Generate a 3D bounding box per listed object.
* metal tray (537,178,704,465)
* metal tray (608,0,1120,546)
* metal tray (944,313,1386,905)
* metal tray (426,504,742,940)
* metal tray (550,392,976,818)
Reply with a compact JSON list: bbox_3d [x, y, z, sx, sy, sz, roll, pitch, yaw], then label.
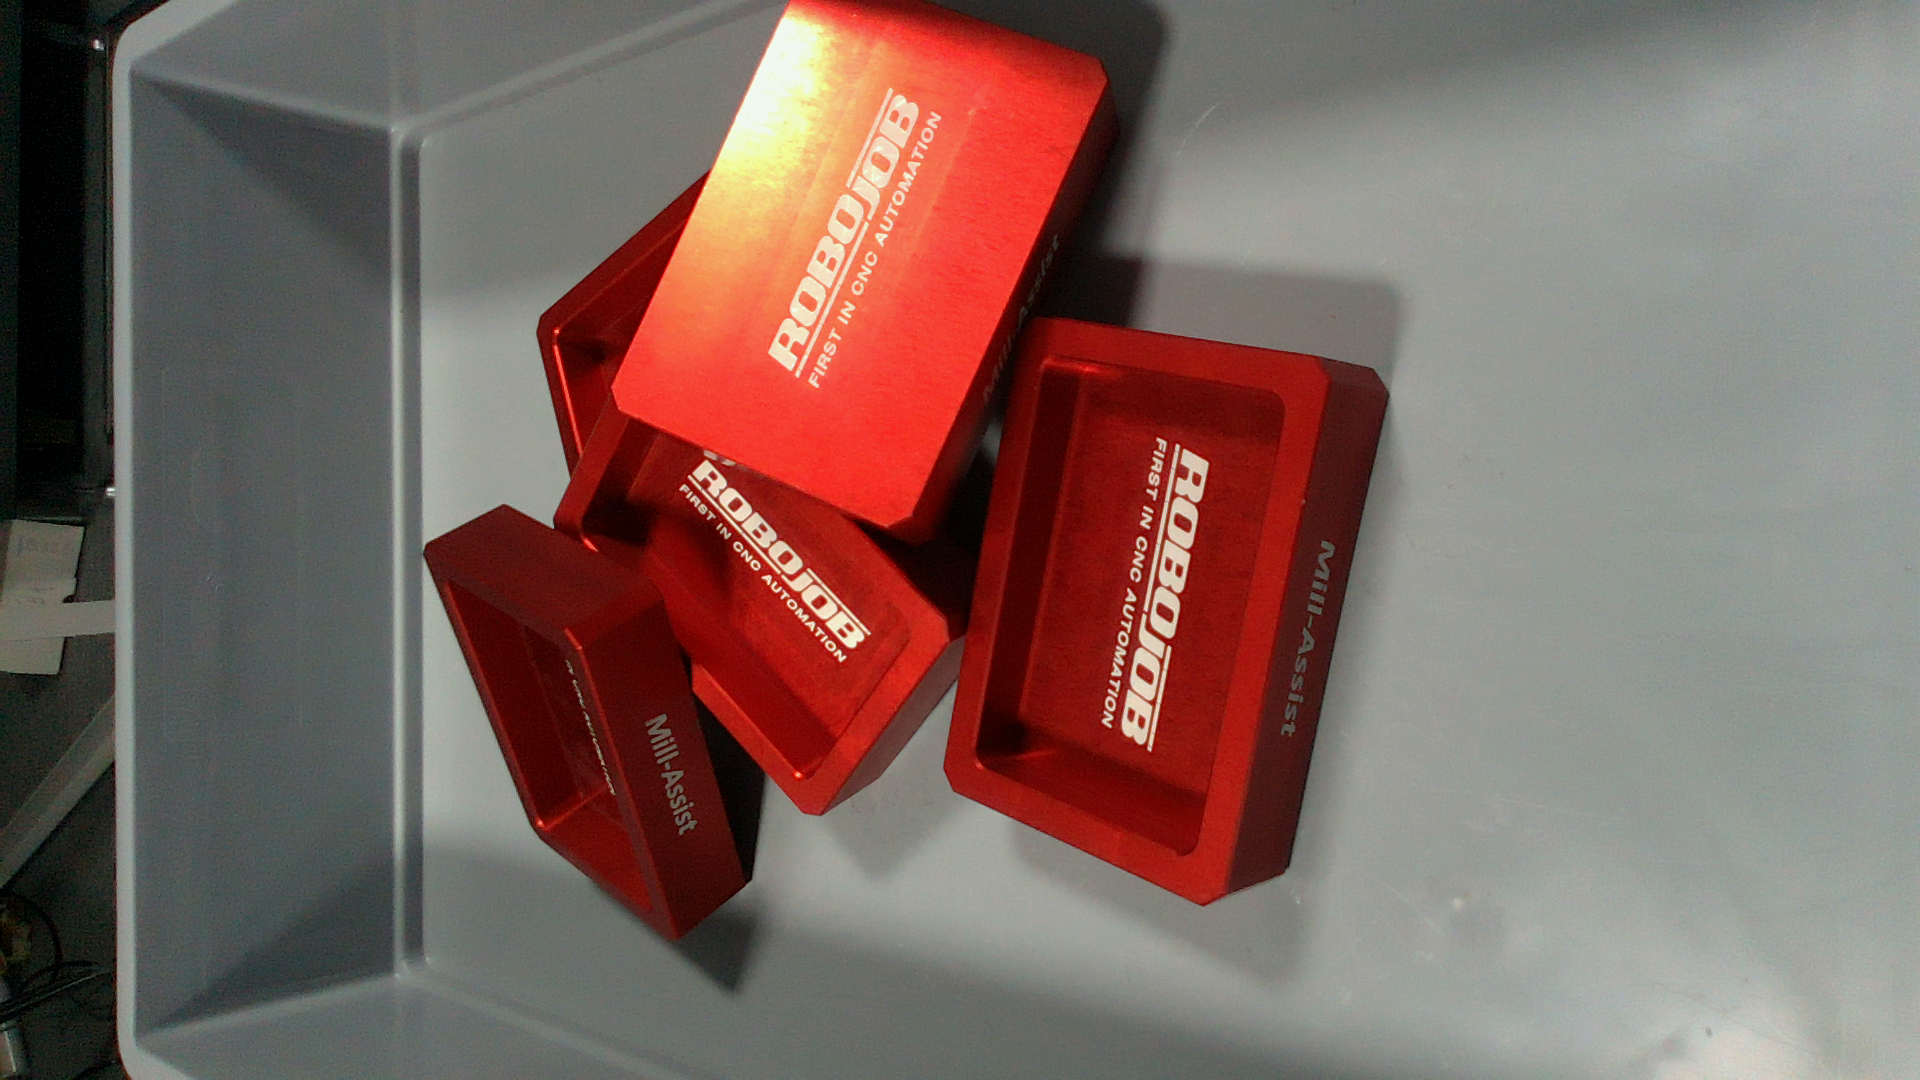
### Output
[{"bbox_3d":[-0.087,-0.061,0.463,0.130,0.030,0.090,-26,73,37],"label":"metal tray"},{"bbox_3d":[-0.024,-0.075,0.365,0.090,0.030,0.130,23,86,14],"label":"metal tray"},{"bbox_3d":[0.048,0.014,0.349,0.090,0.030,0.130,16,100,39],"label":"metal tray"},{"bbox_3d":[-0.123,0.061,0.455,0.090,0.030,0.130,22,133,38],"label":"metal tray"},{"bbox_3d":[-0.060,0.007,0.412,0.130,0.030,0.090,45,125,14],"label":"metal tray"}]
